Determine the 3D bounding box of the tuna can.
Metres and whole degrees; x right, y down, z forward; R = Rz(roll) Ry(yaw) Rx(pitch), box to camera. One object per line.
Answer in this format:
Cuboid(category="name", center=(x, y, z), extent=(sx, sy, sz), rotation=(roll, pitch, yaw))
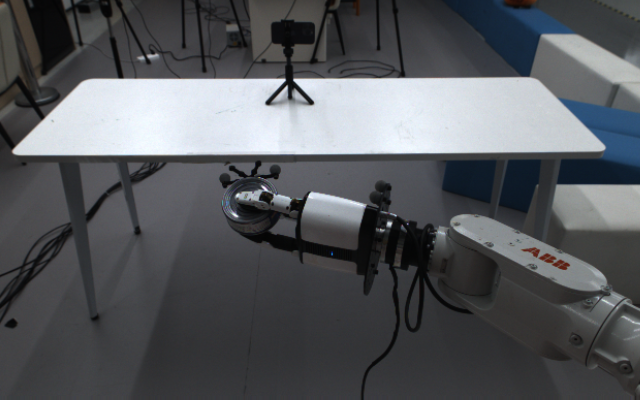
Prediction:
Cuboid(category="tuna can", center=(-0.098, 0.014, 0.718), extent=(0.085, 0.034, 0.085), rotation=(-3, 58, 5))
